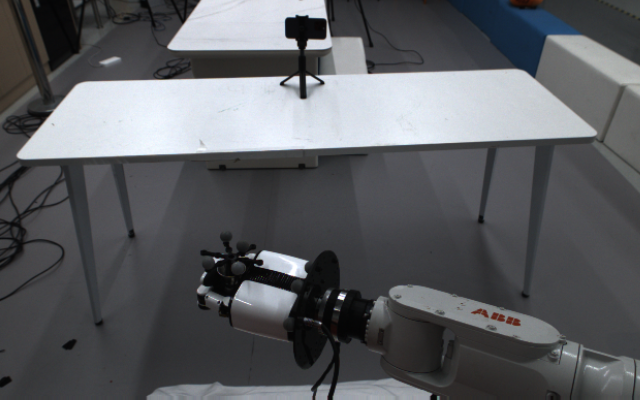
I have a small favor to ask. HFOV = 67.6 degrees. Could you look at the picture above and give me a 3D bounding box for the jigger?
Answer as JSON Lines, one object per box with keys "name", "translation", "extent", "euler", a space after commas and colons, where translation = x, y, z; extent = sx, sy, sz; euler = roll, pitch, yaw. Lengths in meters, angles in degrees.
{"name": "jigger", "translation": [-0.124, 0.125, 0.689], "extent": [0.043, 0.071, 0.043], "euler": [5, 26, -3]}
